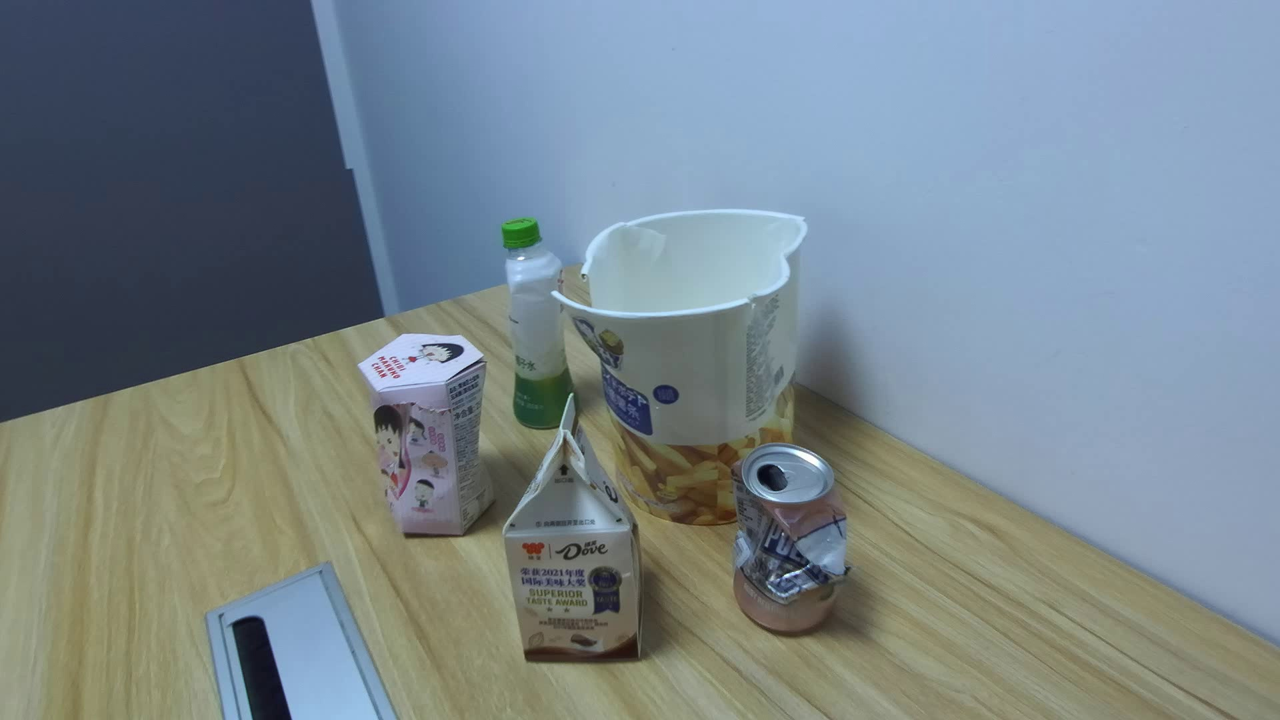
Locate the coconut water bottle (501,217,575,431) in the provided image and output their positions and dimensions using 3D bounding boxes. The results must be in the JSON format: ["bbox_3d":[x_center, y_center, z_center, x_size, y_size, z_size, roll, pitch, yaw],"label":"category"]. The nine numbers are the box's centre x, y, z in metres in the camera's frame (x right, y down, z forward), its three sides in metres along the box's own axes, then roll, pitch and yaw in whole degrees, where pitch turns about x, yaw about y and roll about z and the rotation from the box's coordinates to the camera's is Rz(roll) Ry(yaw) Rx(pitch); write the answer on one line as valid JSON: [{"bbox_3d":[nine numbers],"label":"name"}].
[{"bbox_3d":[-0.092,-0.033,0.630,0.069,0.187,0.069,-2,28,2],"label":"coconut water bottle"}]

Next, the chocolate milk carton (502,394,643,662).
[{"bbox_3d":[-0.036,0.099,0.425,0.073,0.155,0.084,-1,29,4],"label":"chocolate milk carton"}]

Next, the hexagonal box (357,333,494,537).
[{"bbox_3d":[-0.157,0.056,0.540,0.090,0.134,0.091,3,29,4],"label":"hexagonal box"}]

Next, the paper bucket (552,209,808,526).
[{"bbox_3d":[0.044,0.005,0.540,0.145,0.197,0.203,4,30,16],"label":"paper bucket"}]

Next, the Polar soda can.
[{"bbox_3d":[0.092,0.112,0.437,0.074,0.114,0.070,3,36,16],"label":"Polar soda can"}]
